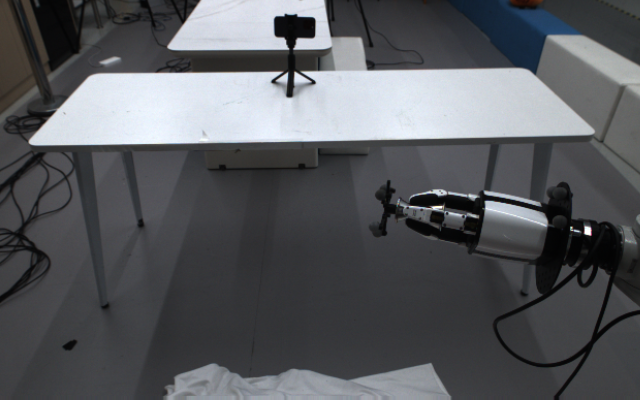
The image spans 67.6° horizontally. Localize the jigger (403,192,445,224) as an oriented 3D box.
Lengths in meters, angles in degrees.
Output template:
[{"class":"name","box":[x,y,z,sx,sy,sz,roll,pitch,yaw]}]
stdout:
[{"class":"jigger","box":[0.156,0.015,0.722,0.071,0.043,0.043,8,35,16]}]
